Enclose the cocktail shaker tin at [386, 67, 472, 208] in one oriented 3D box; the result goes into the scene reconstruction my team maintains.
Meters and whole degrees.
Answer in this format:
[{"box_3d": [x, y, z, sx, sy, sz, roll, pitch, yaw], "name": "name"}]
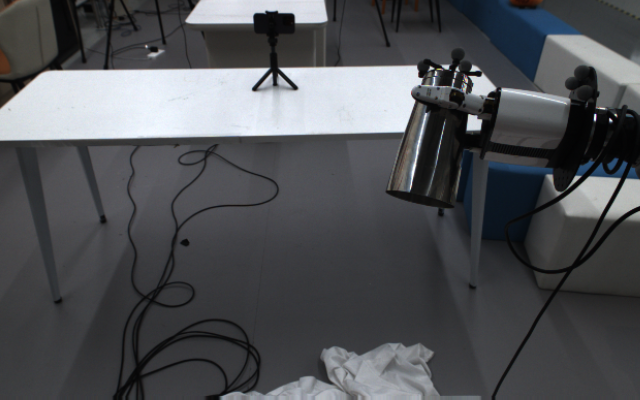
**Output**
[{"box_3d": [0.154, -0.086, 0.651, 0.093, 0.170, 0.093, 15, -5, 1], "name": "cocktail shaker tin"}]
